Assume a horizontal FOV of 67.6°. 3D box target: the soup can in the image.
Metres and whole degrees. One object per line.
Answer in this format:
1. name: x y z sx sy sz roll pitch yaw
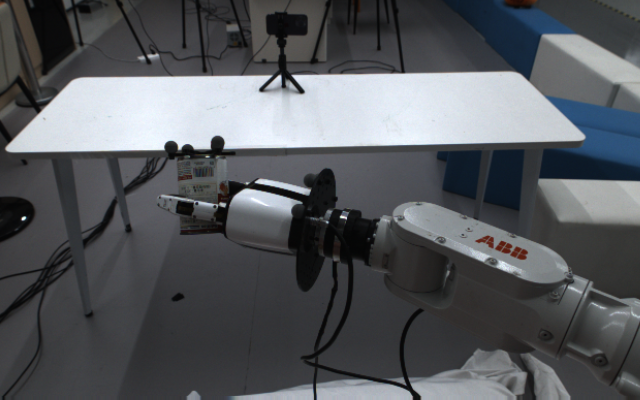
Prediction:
1. soup can: -0.154 -0.005 0.646 0.067 0.101 0.067 -3 -1 0
